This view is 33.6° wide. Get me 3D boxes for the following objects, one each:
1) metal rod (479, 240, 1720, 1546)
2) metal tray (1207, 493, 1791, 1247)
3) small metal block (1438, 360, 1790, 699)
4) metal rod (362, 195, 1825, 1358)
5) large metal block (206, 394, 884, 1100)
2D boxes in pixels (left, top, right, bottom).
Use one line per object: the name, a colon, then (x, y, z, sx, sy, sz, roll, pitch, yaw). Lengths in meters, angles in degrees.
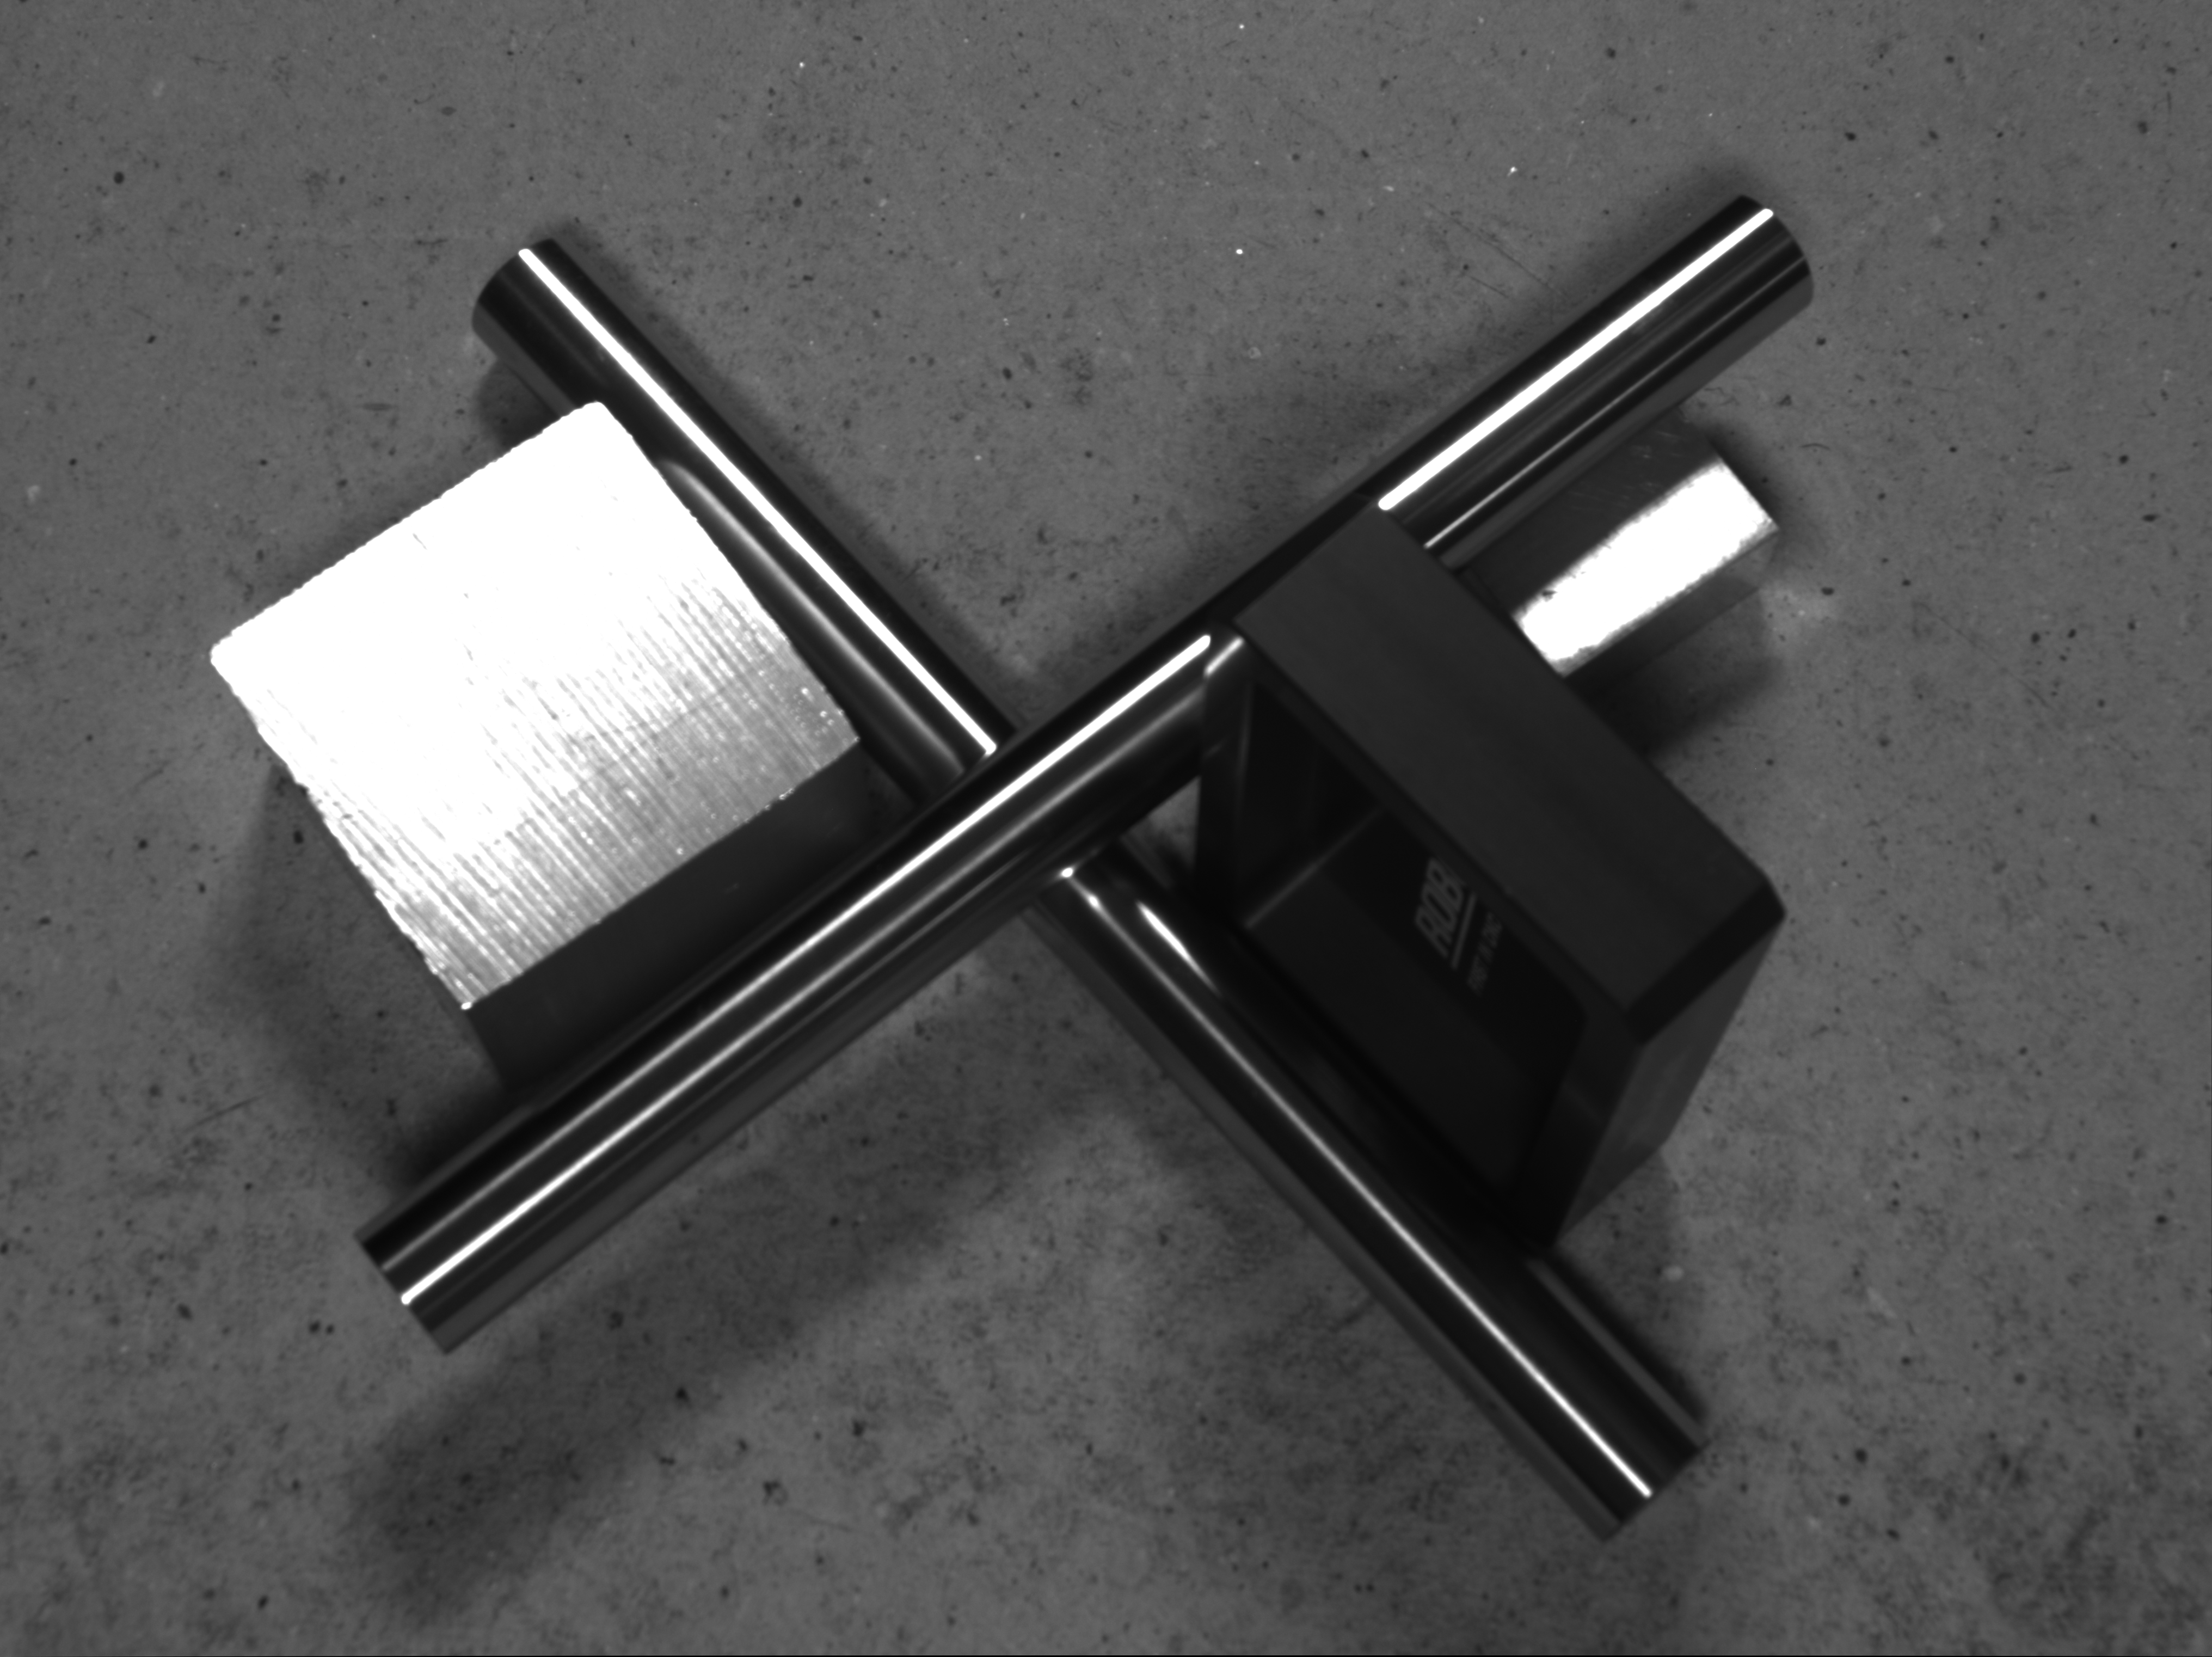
metal rod: (-0.007, 0.005, 0.643, 0.025, 0.025, 0.300, -40, 75, -13)
metal tray: (0.058, 0.011, 0.584, 0.030, 0.130, 0.090, -41, 74, -13)
small metal block: (0.087, -0.055, 0.665, 0.050, 0.025, 0.050, -34, 73, -12)
metal rod: (0.004, -0.014, 0.623, 0.300, 0.025, 0.025, -37, 74, -13)
large metal block: (-0.095, -0.014, 0.635, 0.080, 0.050, 0.080, -35, 74, -12)
